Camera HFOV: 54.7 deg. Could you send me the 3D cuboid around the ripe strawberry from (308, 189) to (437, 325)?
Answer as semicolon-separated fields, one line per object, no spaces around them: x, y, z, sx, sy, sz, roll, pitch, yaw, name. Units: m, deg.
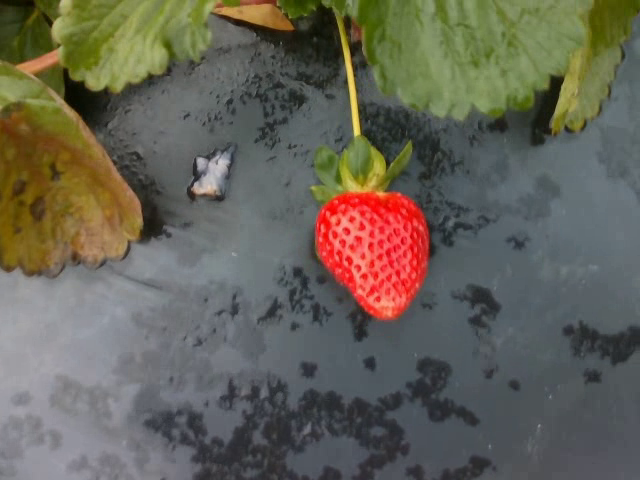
0.020;0.005;0.220;0.045;0.054;0.048;-13;-32;21;ripe strawberry
